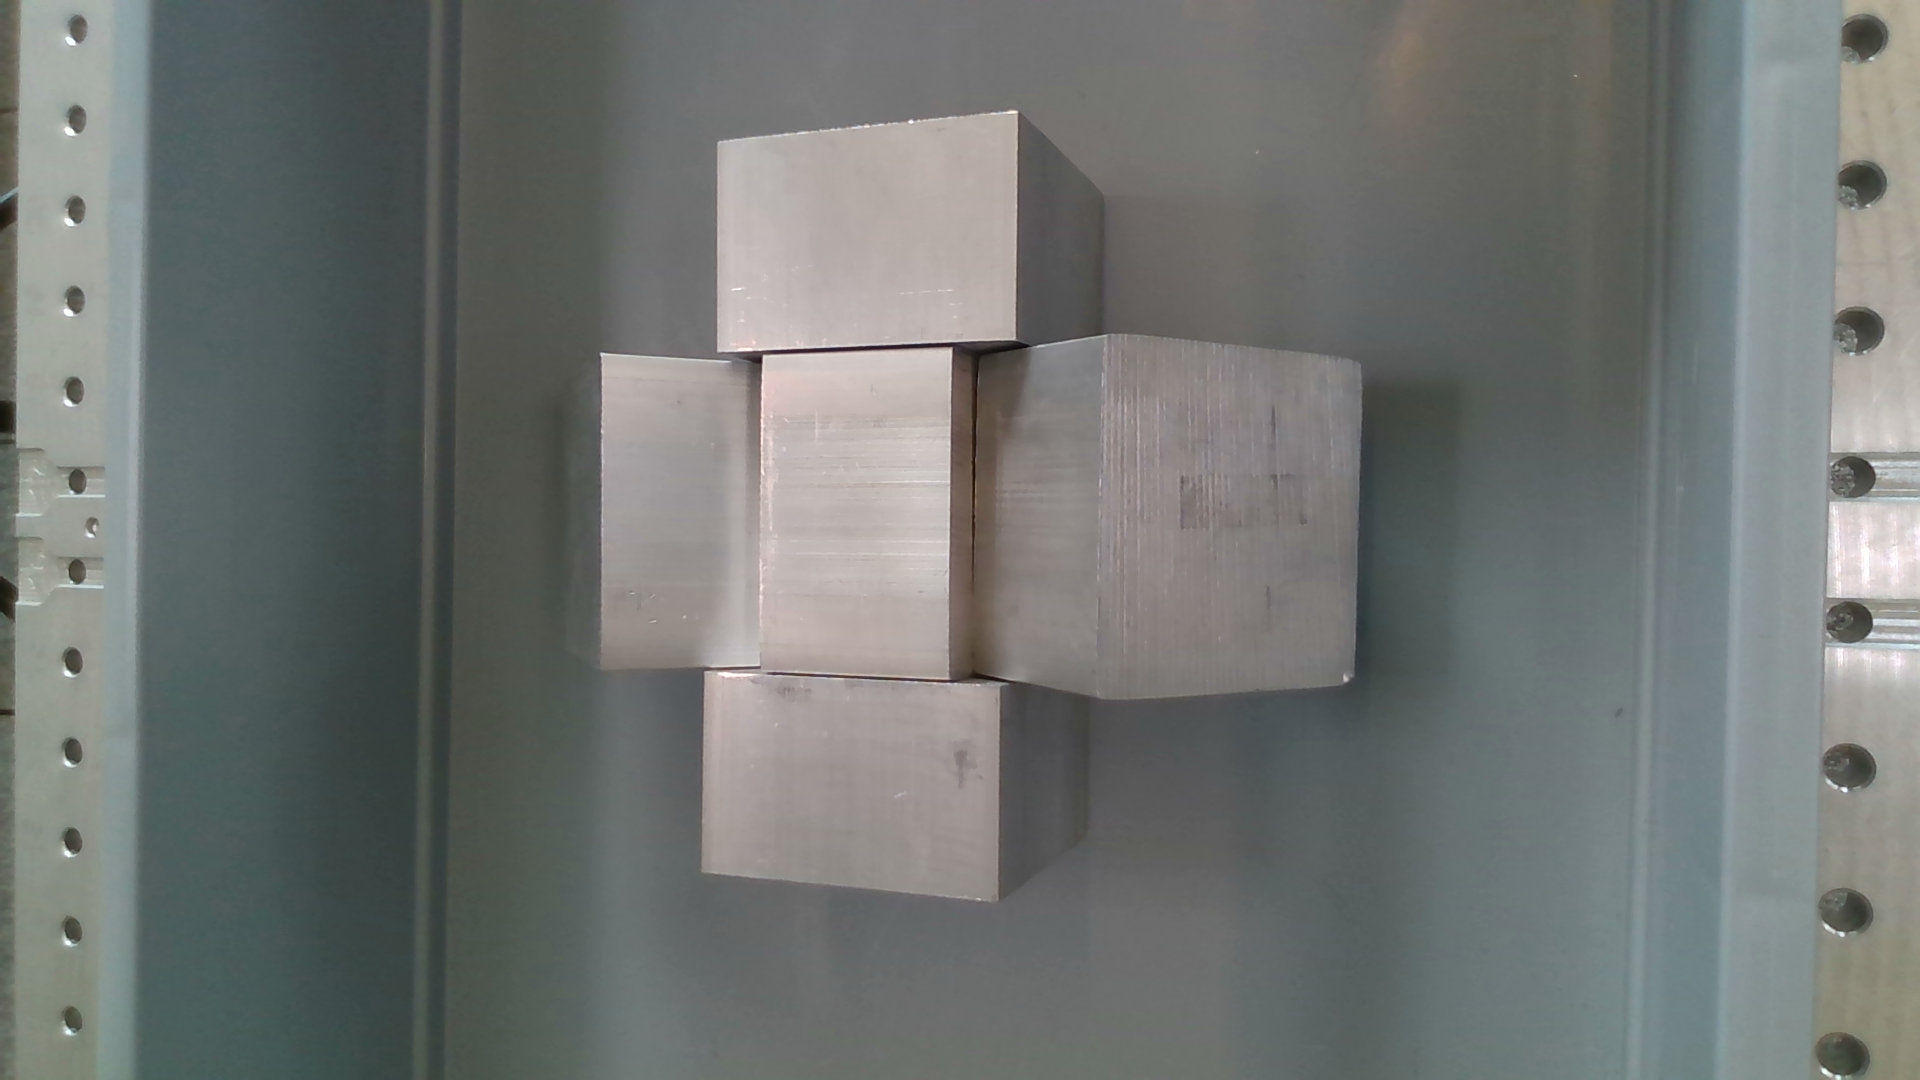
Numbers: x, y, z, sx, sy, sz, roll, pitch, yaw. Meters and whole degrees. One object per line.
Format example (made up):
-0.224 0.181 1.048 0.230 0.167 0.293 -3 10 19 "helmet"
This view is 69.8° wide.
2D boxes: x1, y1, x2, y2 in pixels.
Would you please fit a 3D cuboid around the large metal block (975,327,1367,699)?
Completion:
0.052 -0.006 0.338 0.050 0.080 0.080 3 92 58 "large metal block"

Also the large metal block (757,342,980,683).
-0.012 -0.007 0.368 0.050 0.080 0.080 1 90 20 "large metal block"

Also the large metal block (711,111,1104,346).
-0.011 -0.074 0.367 0.080 0.080 0.050 1 90 20 "large metal block"

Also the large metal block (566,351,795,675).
-0.081 -0.008 0.386 0.050 0.080 0.080 0 92 -22 "large metal block"

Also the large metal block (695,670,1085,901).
-0.015 0.058 0.370 0.080 0.080 0.050 1 90 20 "large metal block"
